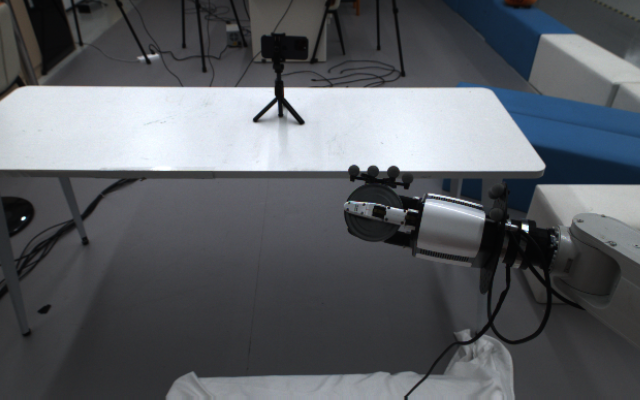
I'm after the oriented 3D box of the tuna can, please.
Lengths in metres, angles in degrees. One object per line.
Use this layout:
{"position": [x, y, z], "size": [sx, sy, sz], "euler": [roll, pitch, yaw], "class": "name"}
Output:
{"position": [0.080, 0.017, 0.708], "size": [0.085, 0.085, 0.034], "euler": [11, -7, 12], "class": "tuna can"}
